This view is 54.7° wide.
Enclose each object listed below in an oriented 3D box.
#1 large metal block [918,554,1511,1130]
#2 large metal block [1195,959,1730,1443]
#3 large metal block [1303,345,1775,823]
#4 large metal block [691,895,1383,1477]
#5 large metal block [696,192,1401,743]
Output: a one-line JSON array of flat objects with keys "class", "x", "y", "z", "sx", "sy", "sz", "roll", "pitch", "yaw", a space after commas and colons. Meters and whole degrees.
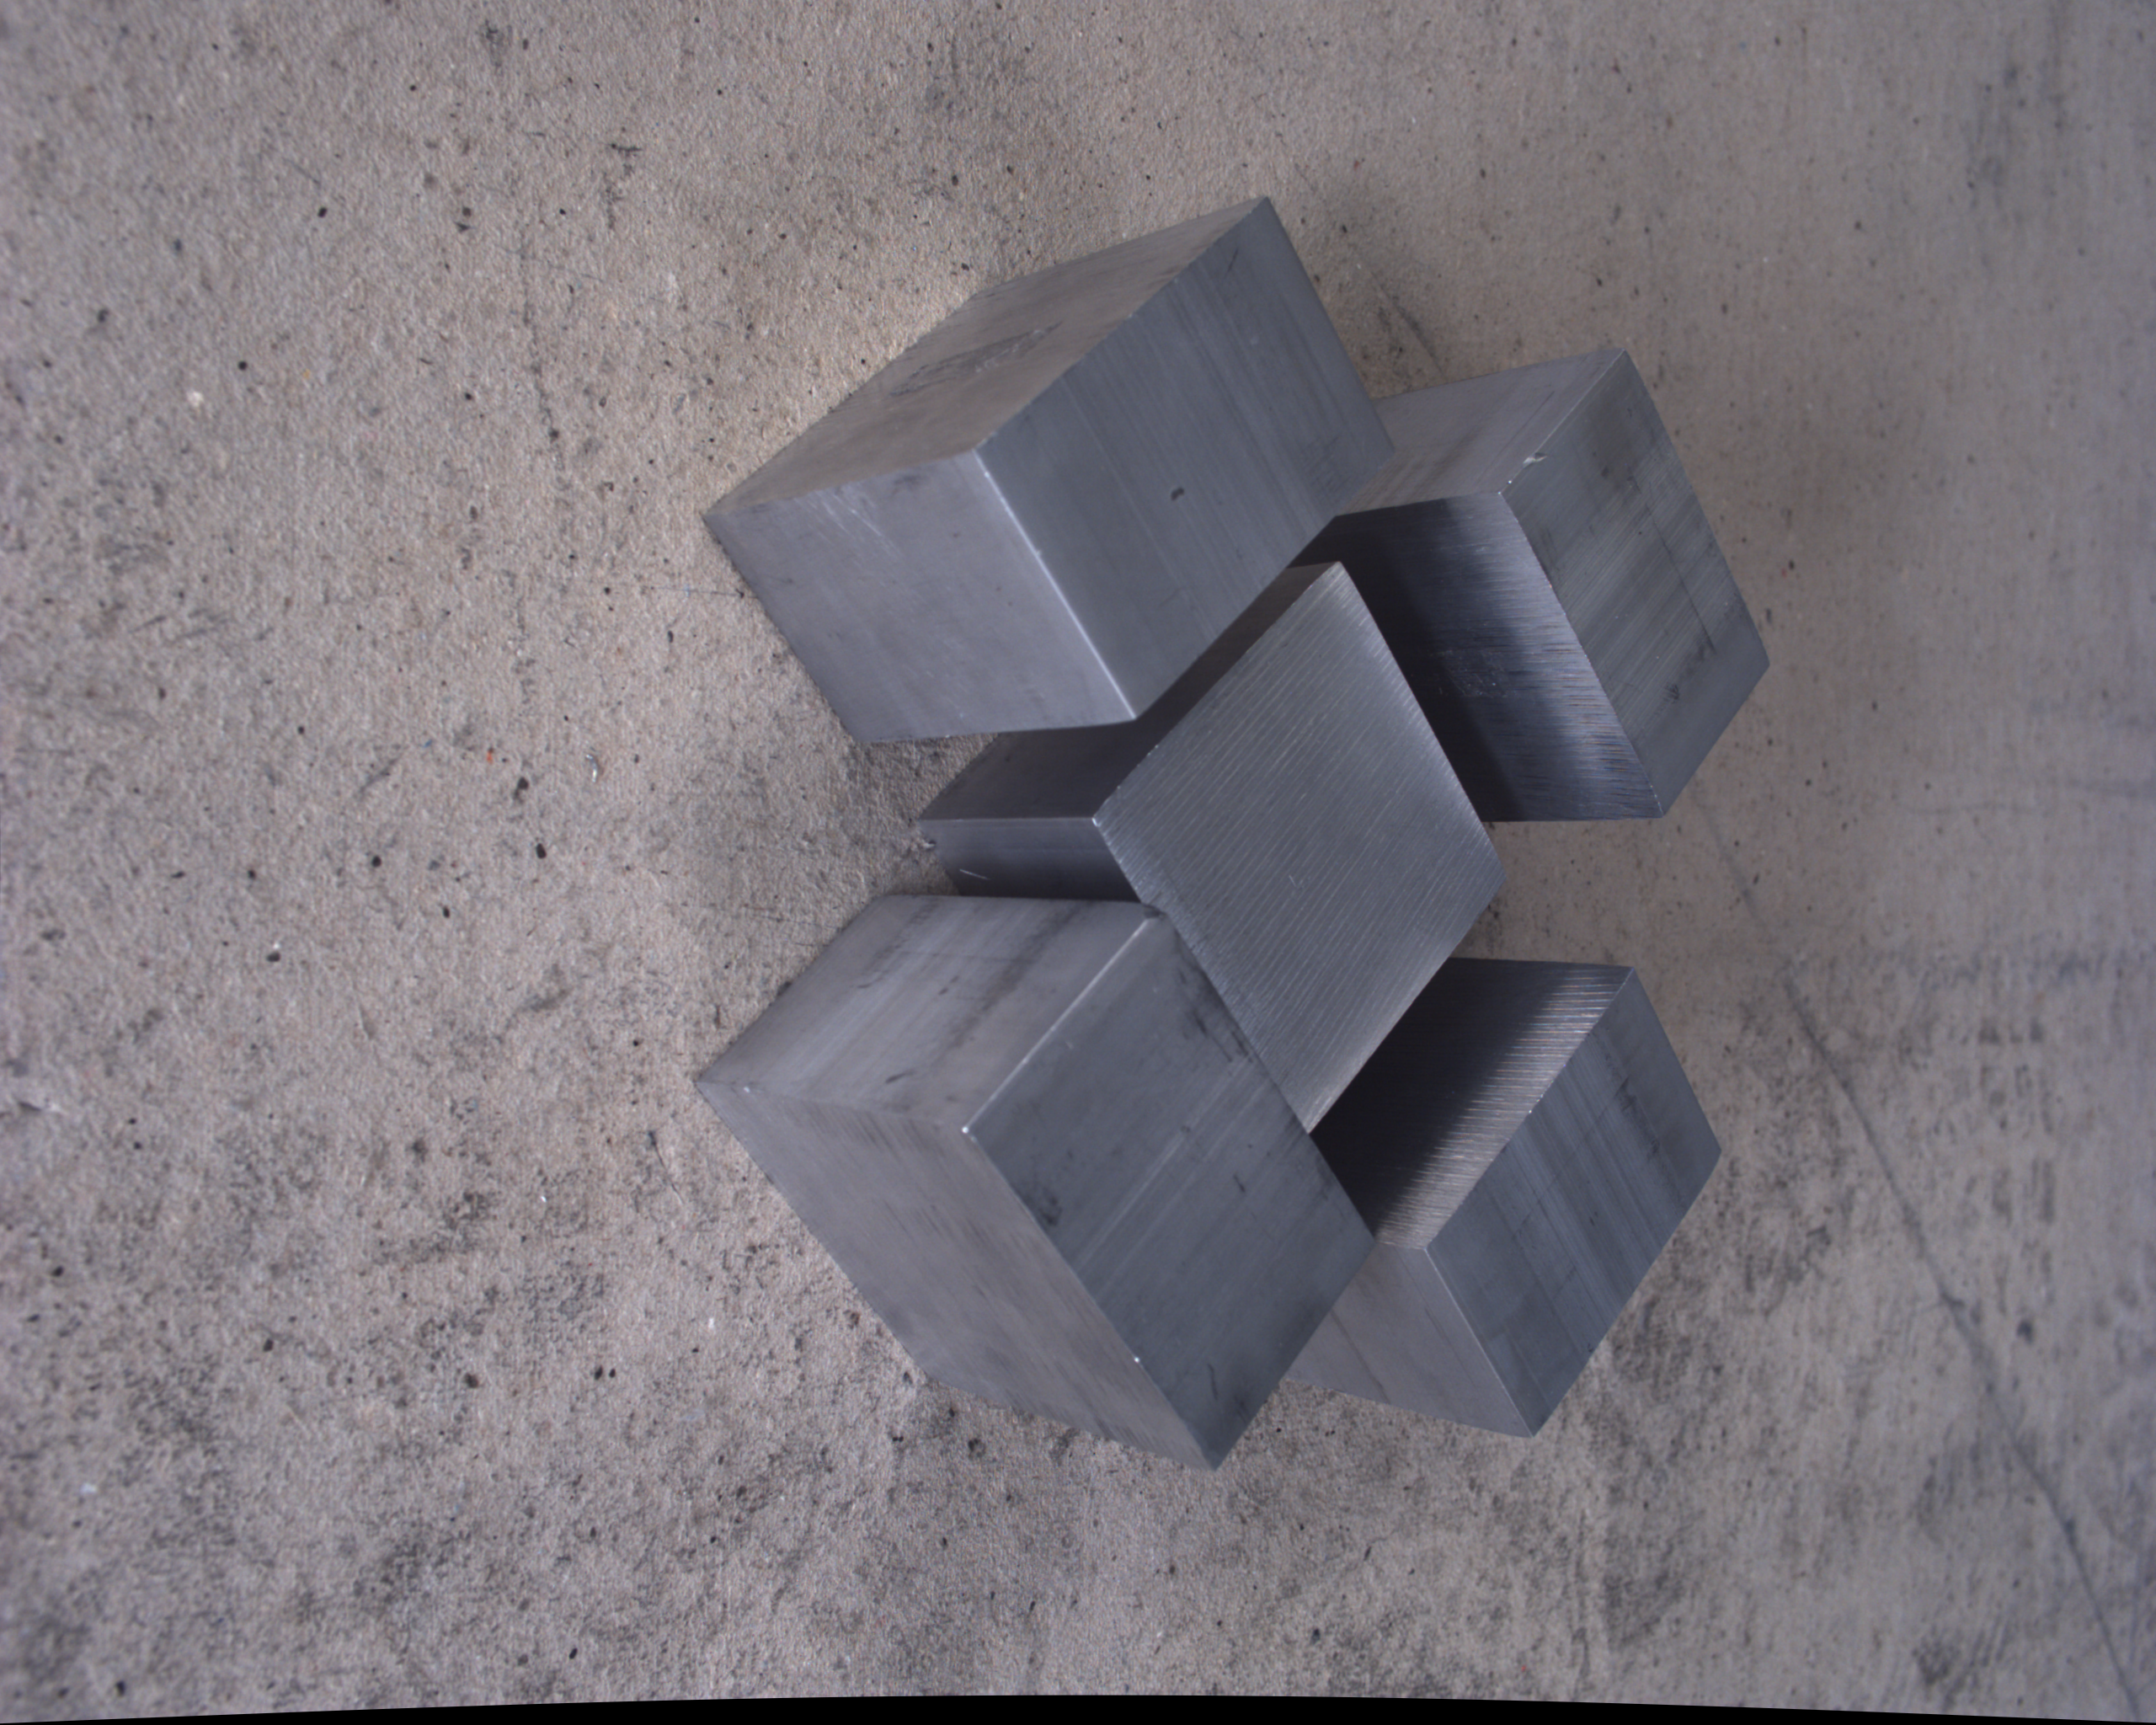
[{"class": "large metal block", "x": 0.029, "y": -0.003, "z": 0.411, "sx": 0.080, "sy": 0.050, "sz": 0.080, "roll": -47, "pitch": 118, "yaw": -30}, {"class": "large metal block", "x": 0.072, "y": 0.064, "z": 0.430, "sx": 0.080, "sy": 0.080, "sz": 0.050, "roll": -45, "pitch": 117, "yaw": -31}, {"class": "large metal block", "x": 0.087, "y": -0.055, "z": 0.442, "sx": 0.050, "sy": 0.080, "sz": 0.080, "roll": -49, "pitch": 119, "yaw": -29}, {"class": "large metal block", "x": -0.007, "y": 0.053, "z": 0.363, "sx": 0.050, "sy": 0.080, "sz": 0.080, "roll": -48, "pitch": 119, "yaw": -29}, {"class": "large metal block", "x": -0.005, "y": -0.067, "z": 0.366, "sx": 0.080, "sy": 0.080, "sz": 0.050, "roll": -47, "pitch": 118, "yaw": -30}]
